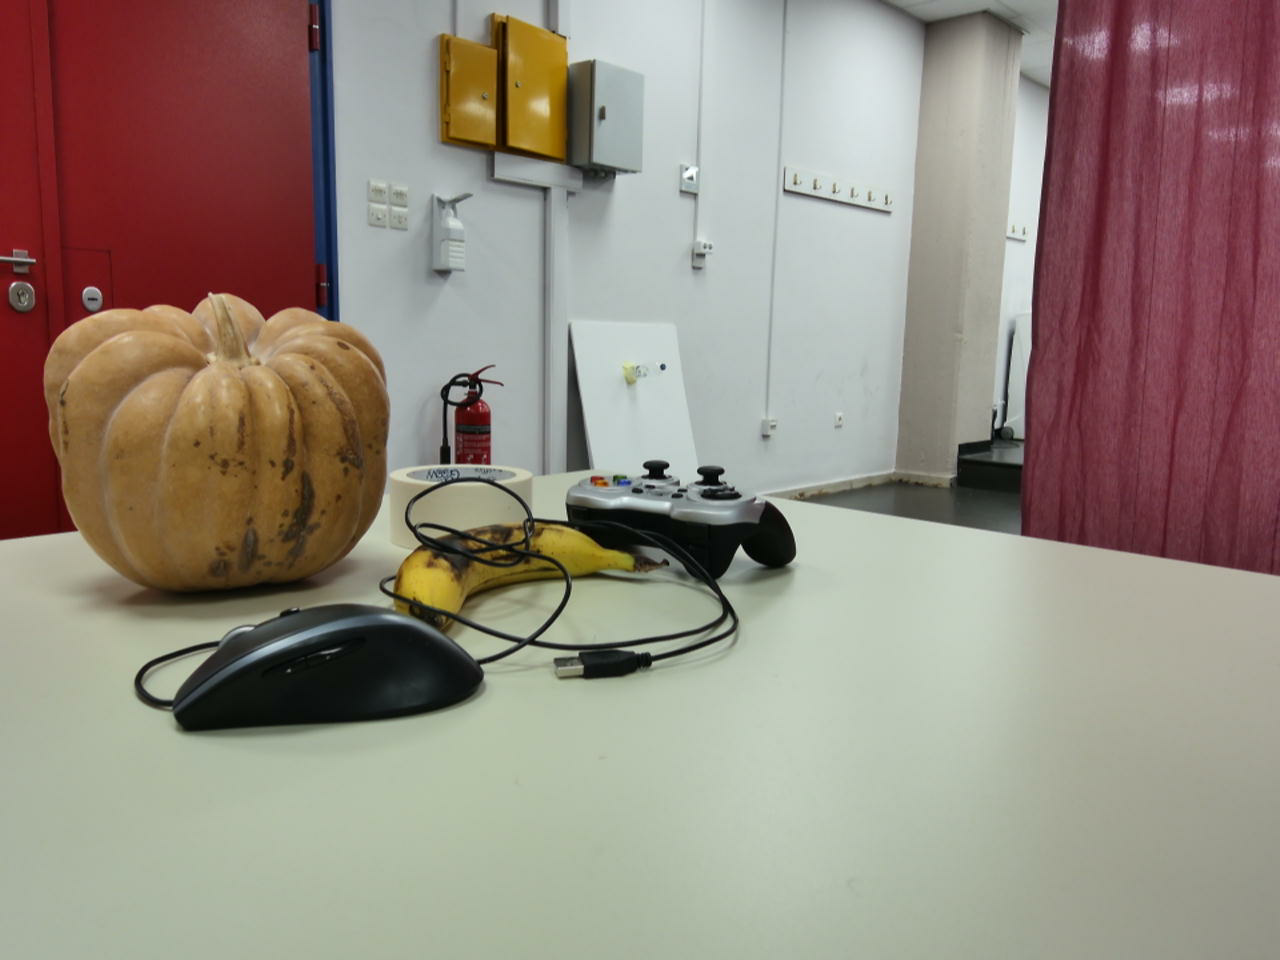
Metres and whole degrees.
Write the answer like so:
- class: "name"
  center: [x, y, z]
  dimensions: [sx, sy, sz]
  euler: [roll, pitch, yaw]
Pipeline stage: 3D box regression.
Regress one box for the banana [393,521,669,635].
- class: "banana"
  center: [-0.079, 0.052, 0.592]
  dimensions: [0.094, 0.039, 0.187]
  euler: [6, 9, 40]
